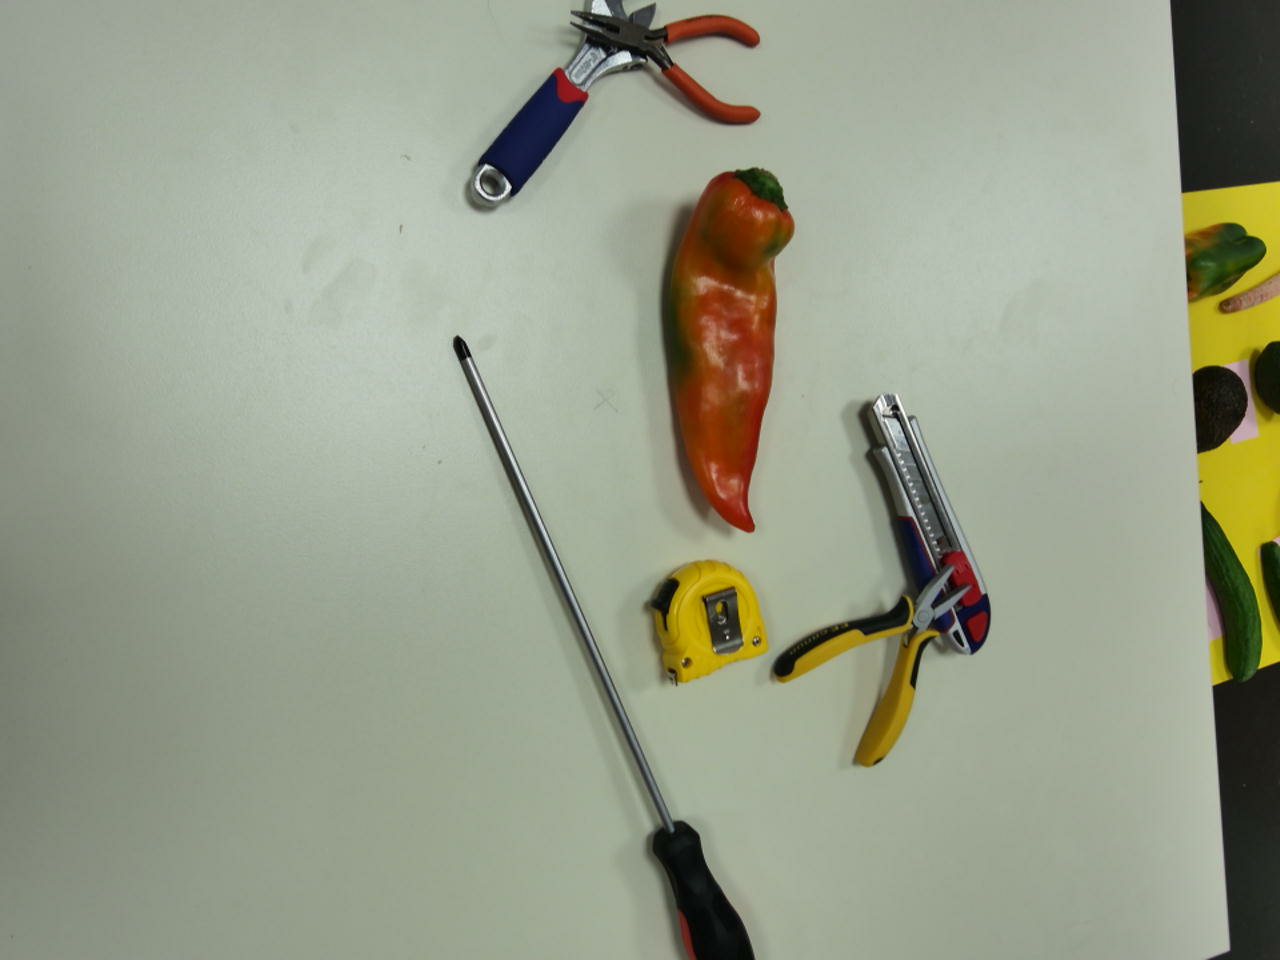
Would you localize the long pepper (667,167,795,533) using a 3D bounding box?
[{"bbox_3d":[0.055,-0.070,0.555,0.066,0.065,0.199,0,91,-22],"label":"long pepper"}]
